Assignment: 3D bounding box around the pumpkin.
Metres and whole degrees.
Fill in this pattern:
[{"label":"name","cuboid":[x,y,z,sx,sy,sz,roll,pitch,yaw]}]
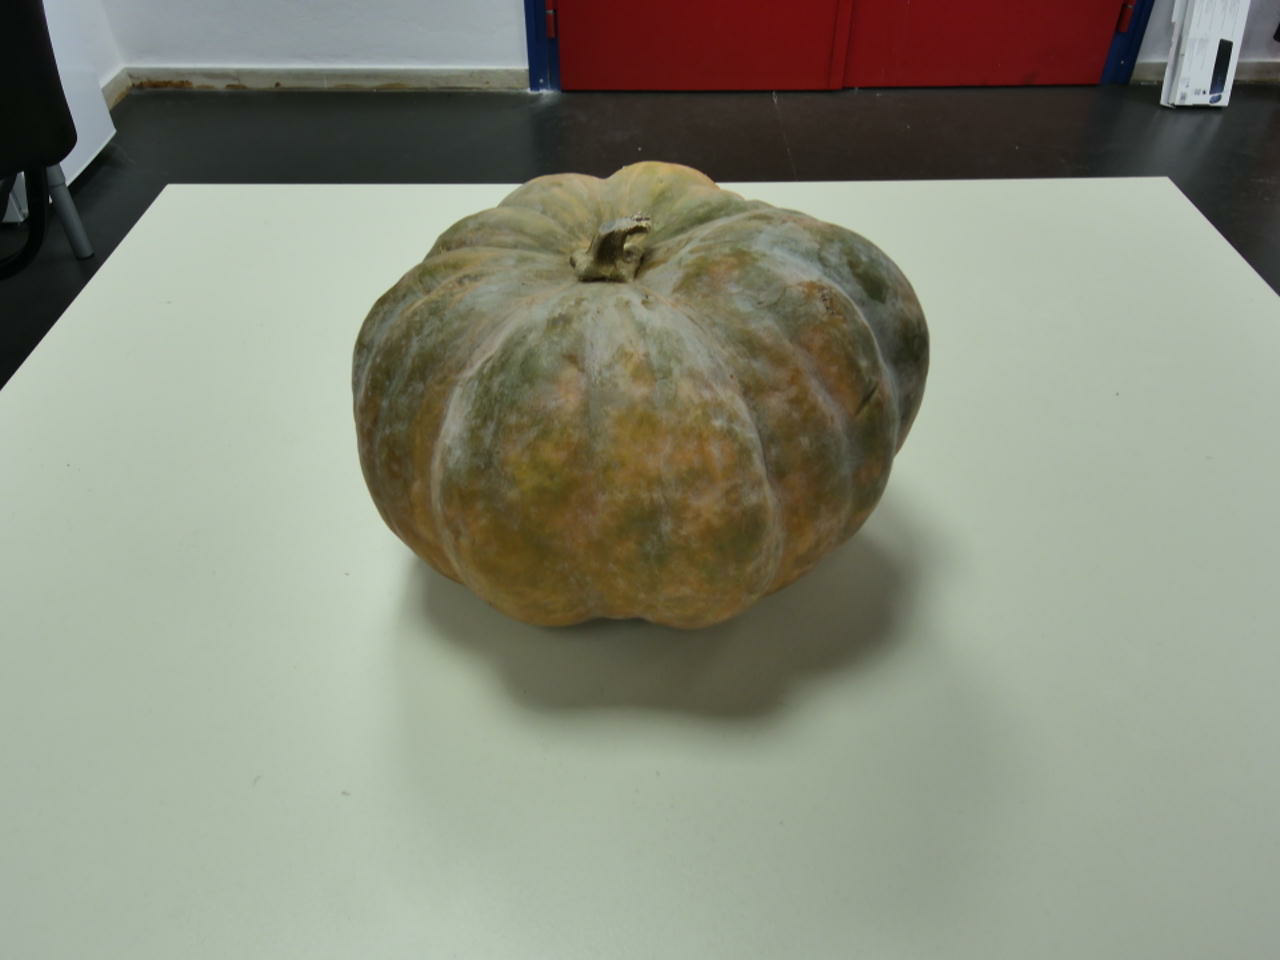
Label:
[{"label":"pumpkin","cuboid":[-0.007,-0.042,0.453,0.252,0.169,0.251,0,39,0]}]
